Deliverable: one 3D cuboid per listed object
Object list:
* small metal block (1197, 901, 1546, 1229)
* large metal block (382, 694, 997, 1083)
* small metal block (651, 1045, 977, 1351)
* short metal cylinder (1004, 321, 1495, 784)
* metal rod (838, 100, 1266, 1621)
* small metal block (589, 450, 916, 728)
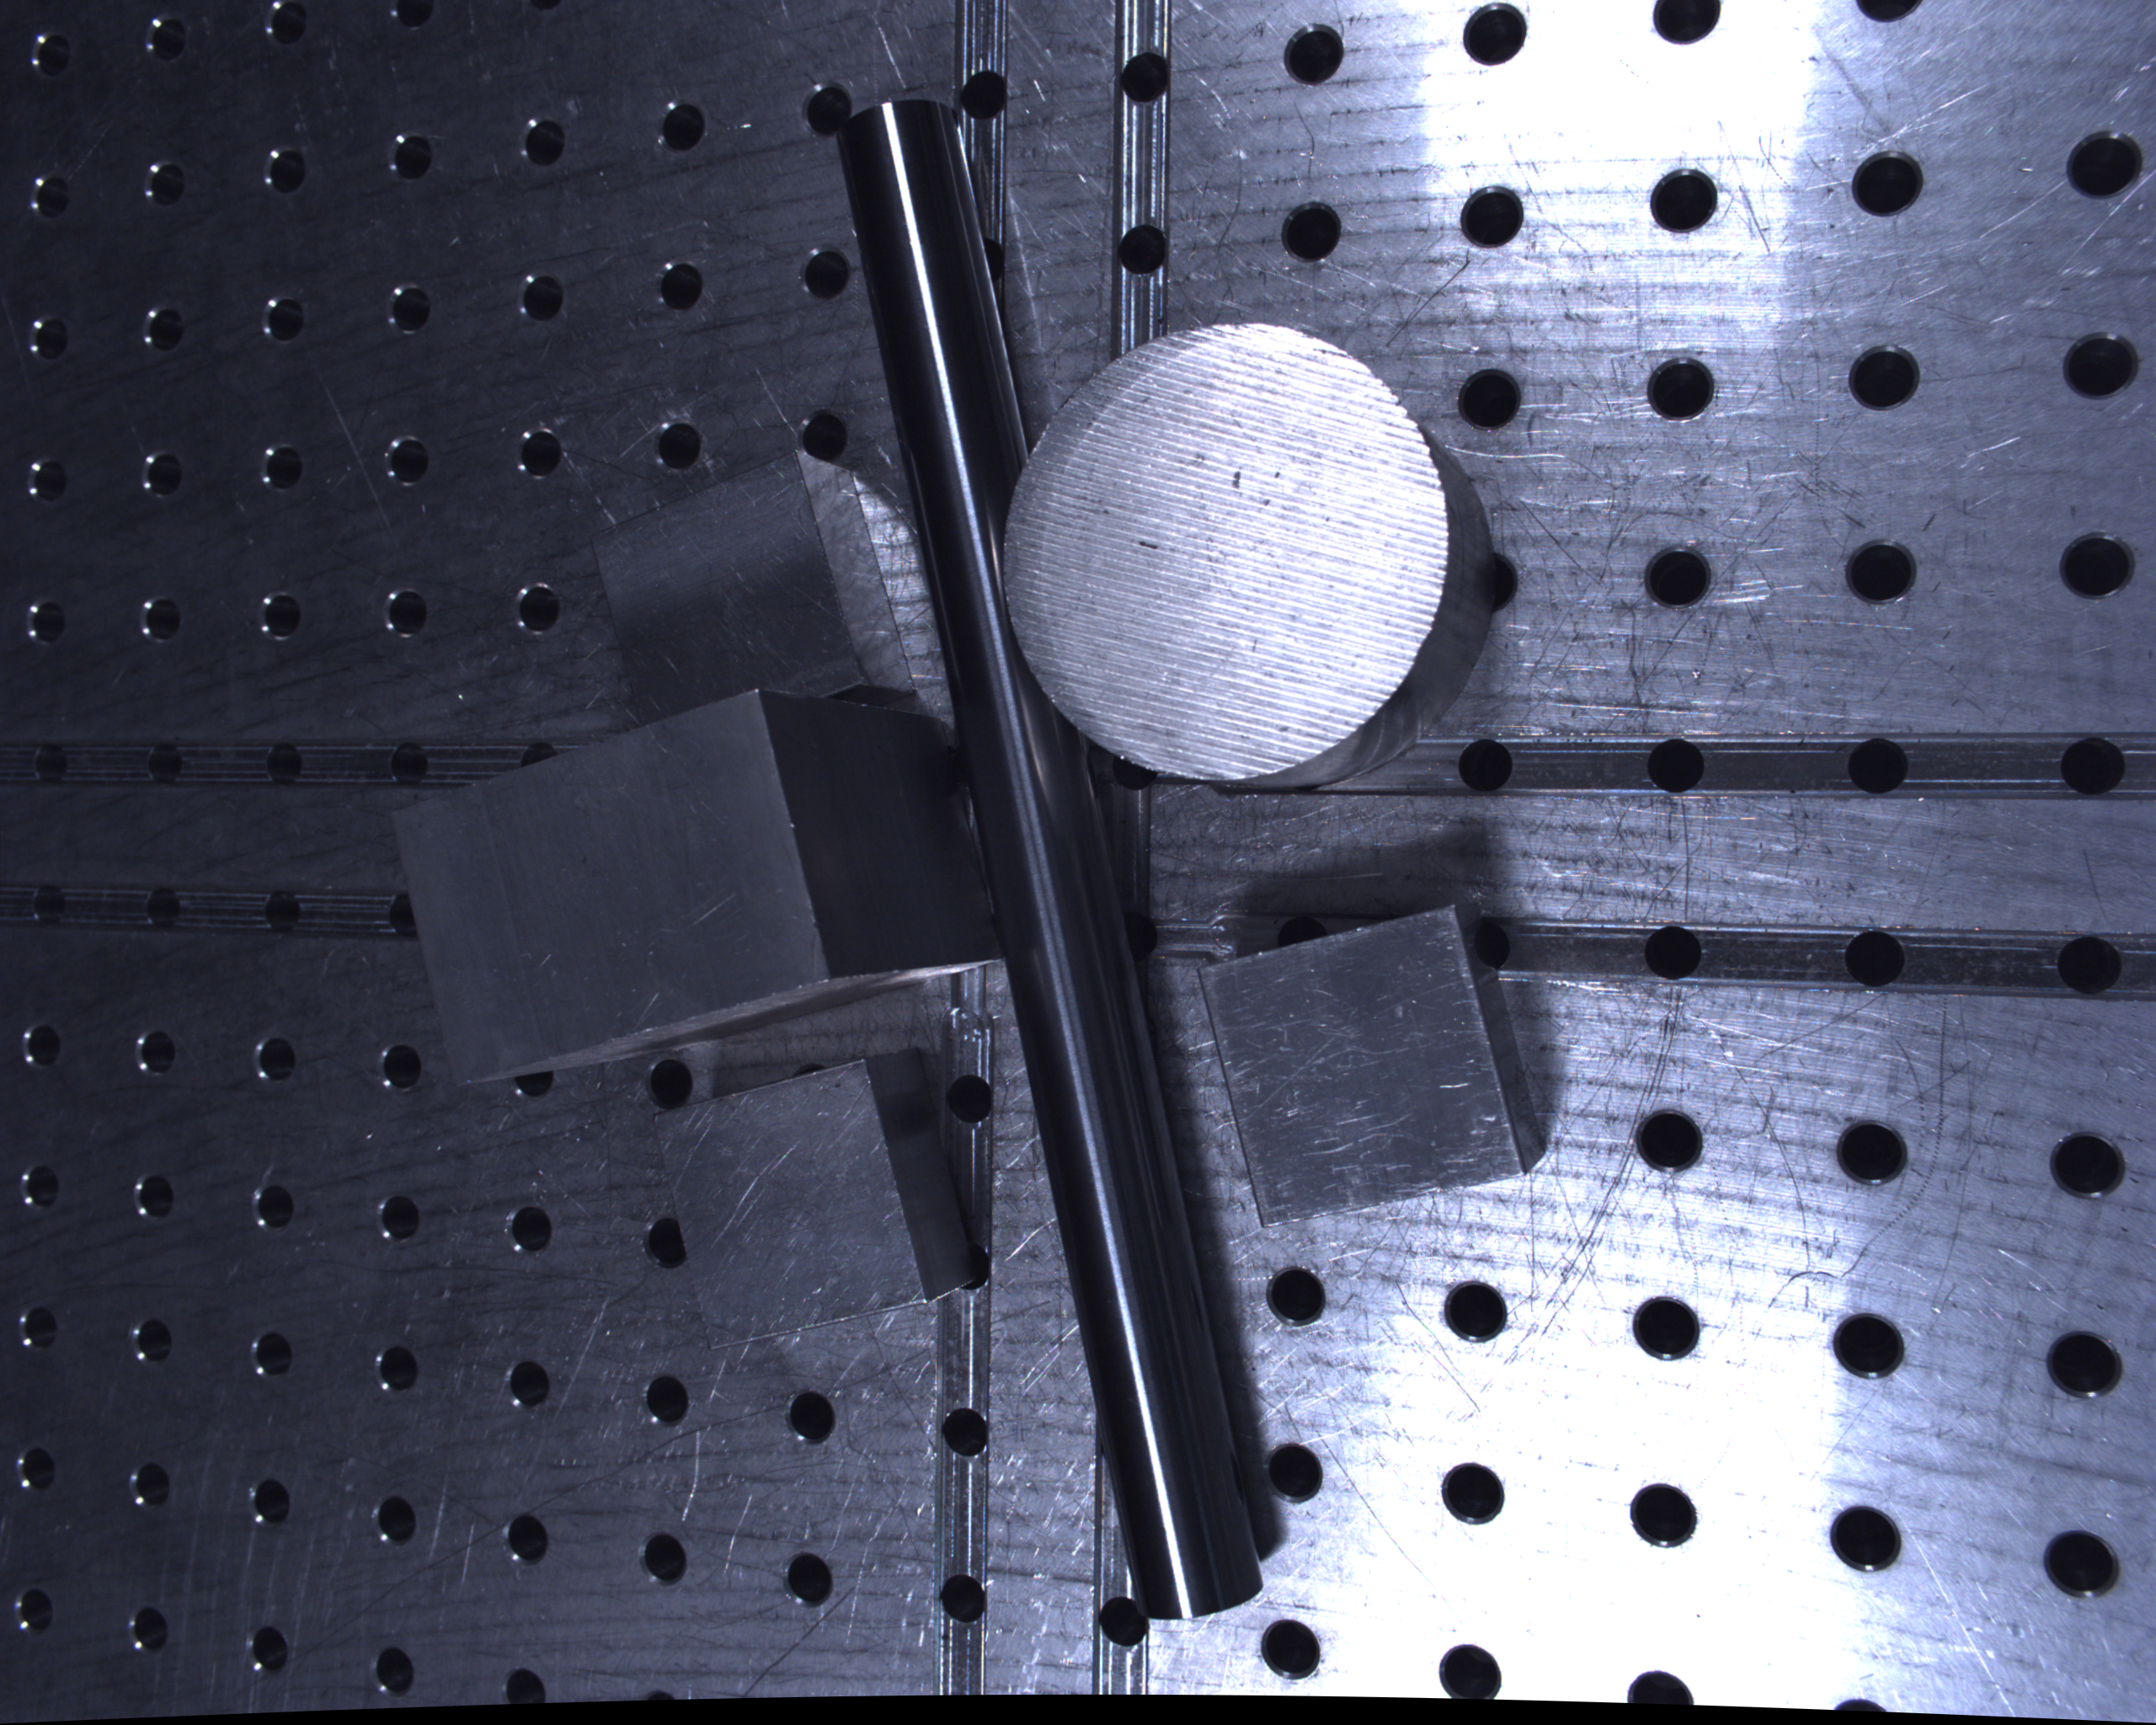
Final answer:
[{"bbox_3d":[0.055,0.038,0.392,0.050,0.025,0.050,-15,85,19],"label":"small metal block"},{"bbox_3d":[-0.072,0.005,0.406,0.080,0.080,0.050,-16,85,19],"label":"large metal block"},{"bbox_3d":[-0.054,0.069,0.431,0.050,0.025,0.050,-16,85,19],"label":"small metal block"},{"bbox_3d":[0.033,-0.054,0.387,0.080,0.050,0.079,0,90,19],"label":"short metal cylinder"},{"bbox_3d":[-0.006,-0.004,0.413,0.025,0.025,0.298,-13,86,19],"label":"metal rod"},{"bbox_3d":[-0.068,-0.052,0.435,0.050,0.025,0.050,-18,84,18],"label":"small metal block"}]
